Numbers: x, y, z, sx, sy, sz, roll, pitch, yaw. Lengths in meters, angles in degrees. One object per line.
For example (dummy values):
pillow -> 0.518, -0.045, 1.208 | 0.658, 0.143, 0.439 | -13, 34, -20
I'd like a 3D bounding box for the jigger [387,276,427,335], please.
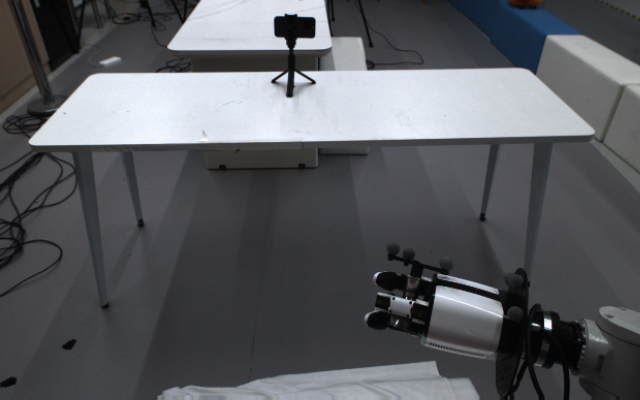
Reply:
jigger -> 0.120, 0.134, 0.640 | 0.043, 0.071, 0.043 | 16, -7, 2
